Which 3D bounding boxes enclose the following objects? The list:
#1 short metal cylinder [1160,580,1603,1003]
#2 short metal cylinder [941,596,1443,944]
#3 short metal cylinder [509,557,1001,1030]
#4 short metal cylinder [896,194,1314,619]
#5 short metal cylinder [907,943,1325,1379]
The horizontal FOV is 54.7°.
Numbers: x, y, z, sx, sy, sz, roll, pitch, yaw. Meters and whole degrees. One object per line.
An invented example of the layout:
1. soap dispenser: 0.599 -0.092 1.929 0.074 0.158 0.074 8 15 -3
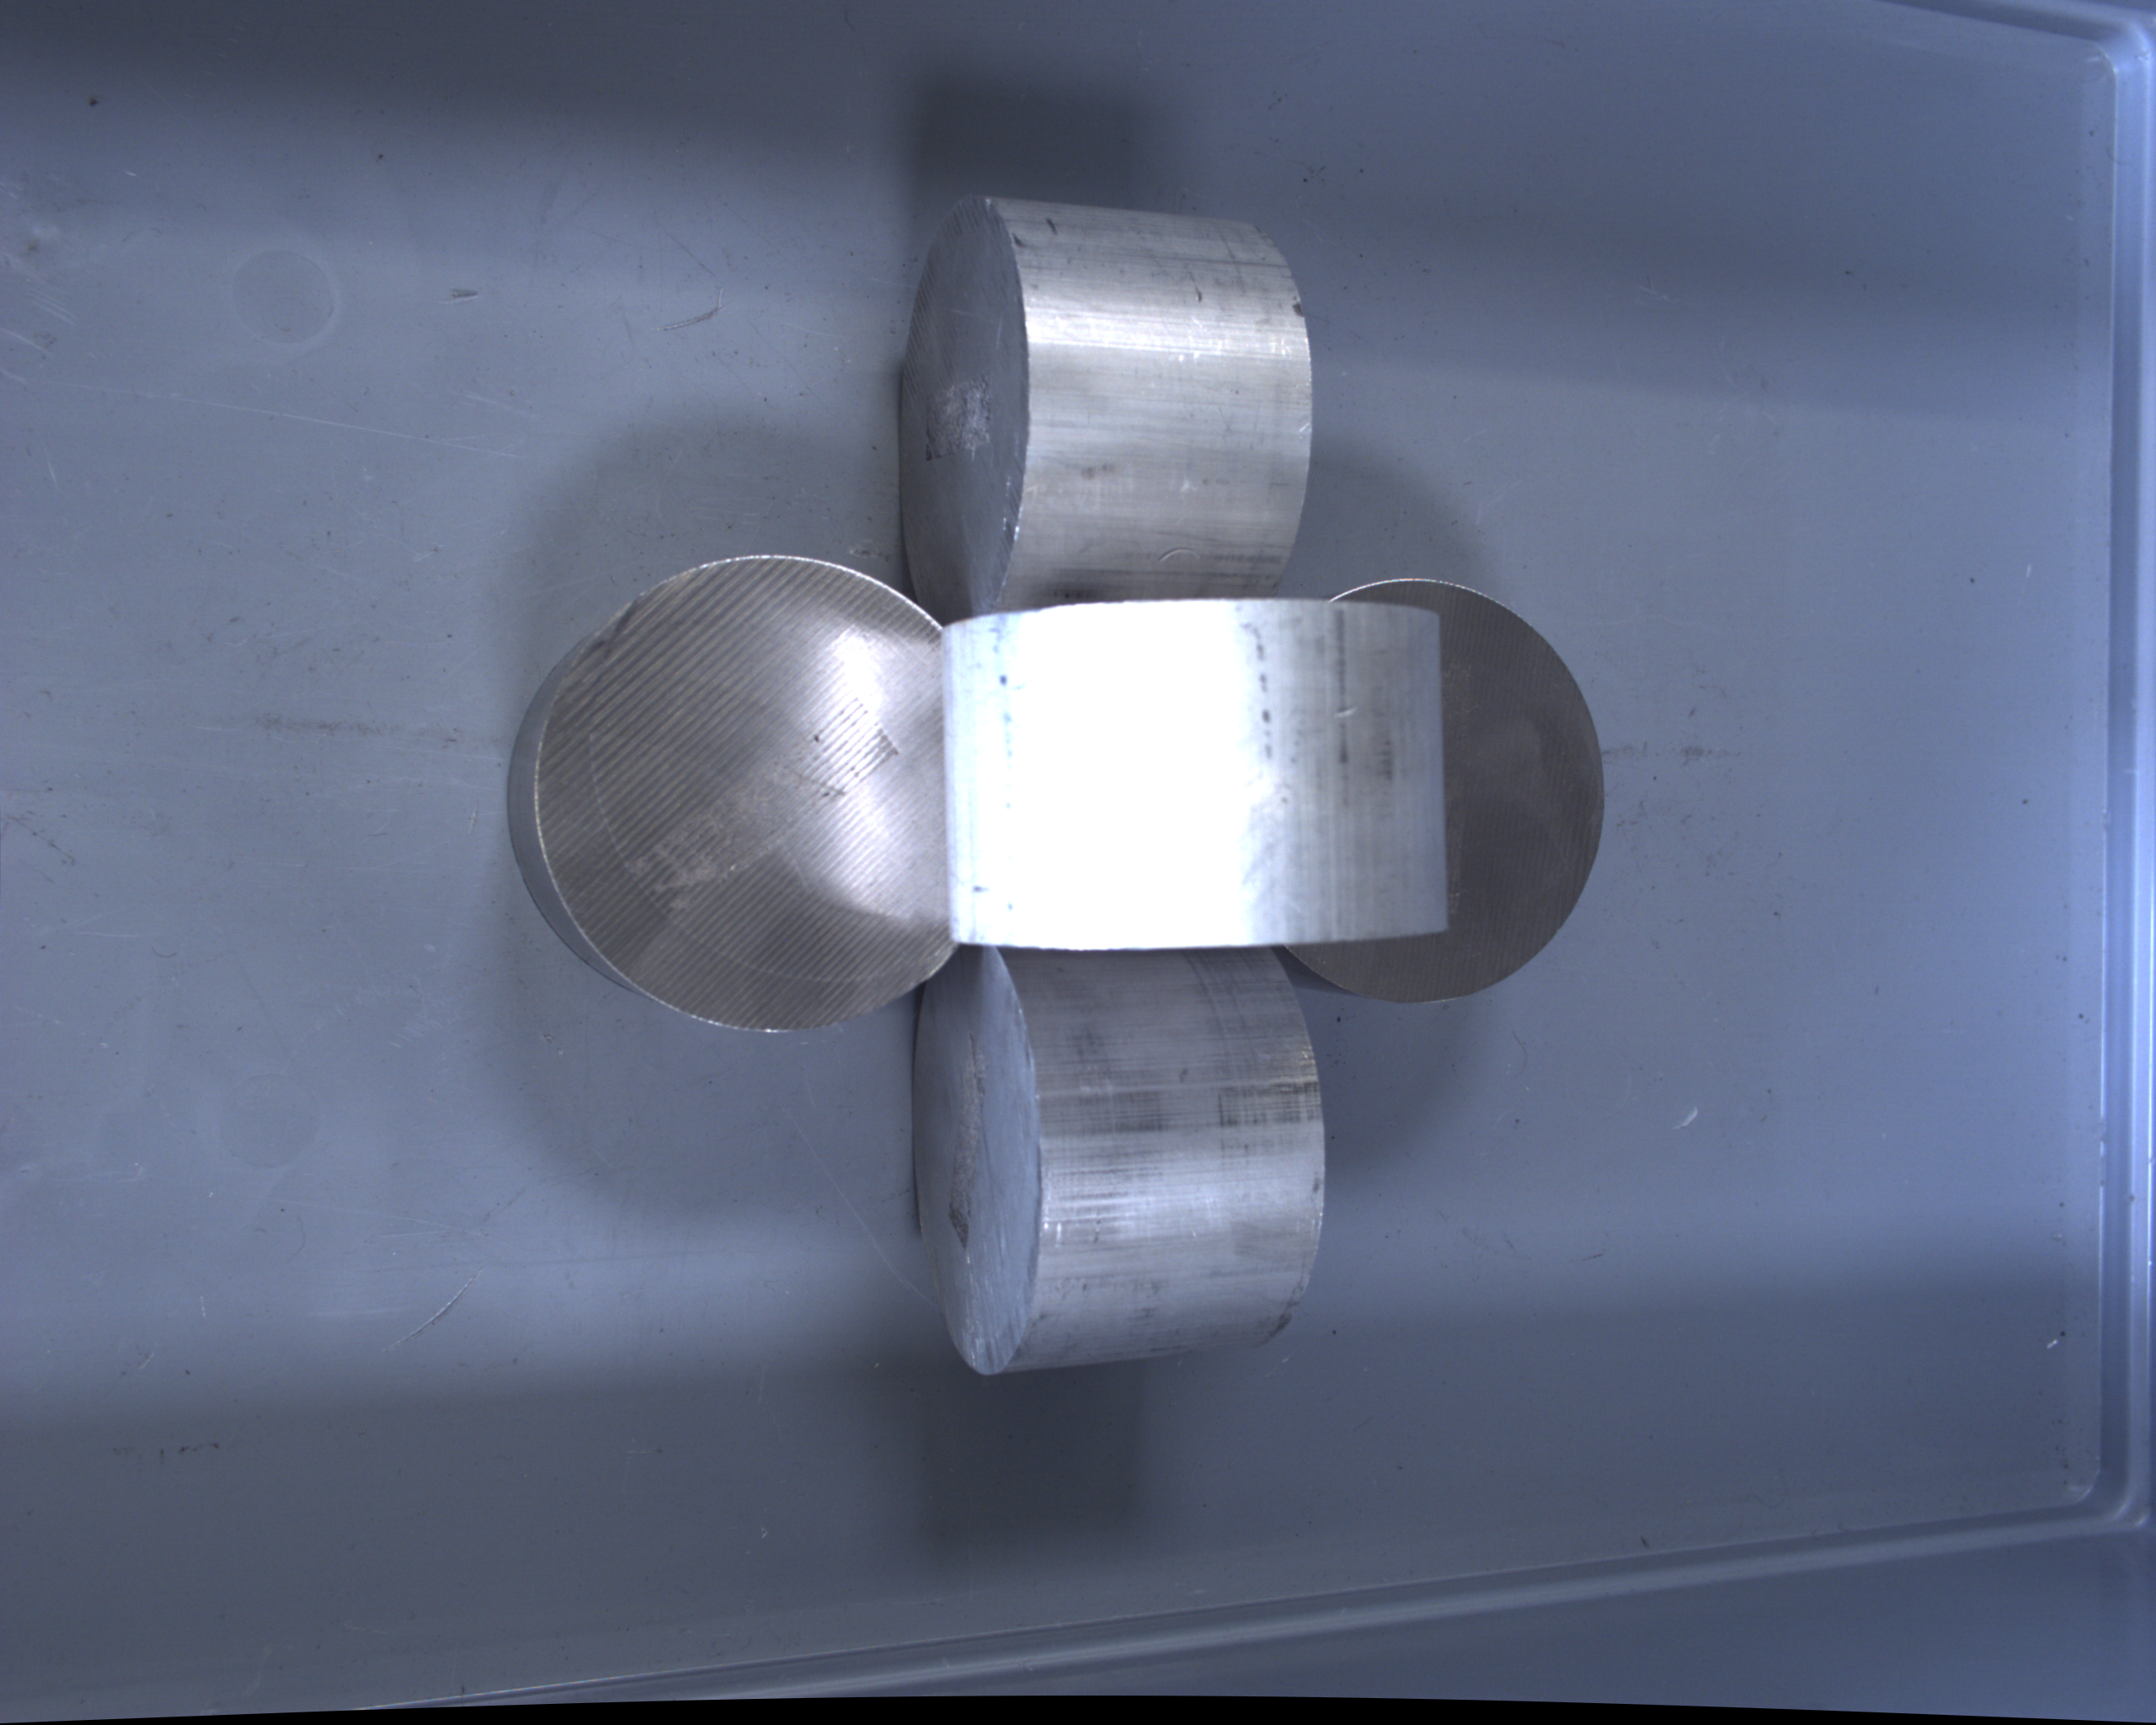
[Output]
1. short metal cylinder: 0.056 -0.013 0.415 0.081 0.050 0.080 0 90 -20
2. short metal cylinder: 0.019 -0.014 0.339 0.081 0.080 0.050 -1 90 -20
3. short metal cylinder: -0.058 -0.012 0.374 0.081 0.050 0.080 0 90 -20
4. short metal cylinder: 0.002 -0.078 0.380 0.050 0.080 0.080 -2 91 -21
5. short metal cylinder: 0.004 0.051 0.381 0.050 0.080 0.080 -2 91 -21
